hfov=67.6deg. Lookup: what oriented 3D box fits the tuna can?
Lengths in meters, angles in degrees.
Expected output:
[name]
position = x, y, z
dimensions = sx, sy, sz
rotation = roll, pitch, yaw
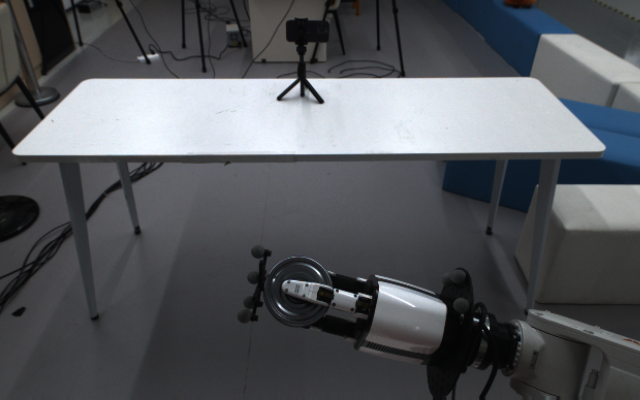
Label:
[tuna can]
position = -0.023, 0.116, 0.593
dimensions = 0.085, 0.034, 0.085
rotation = 2, 73, -5
